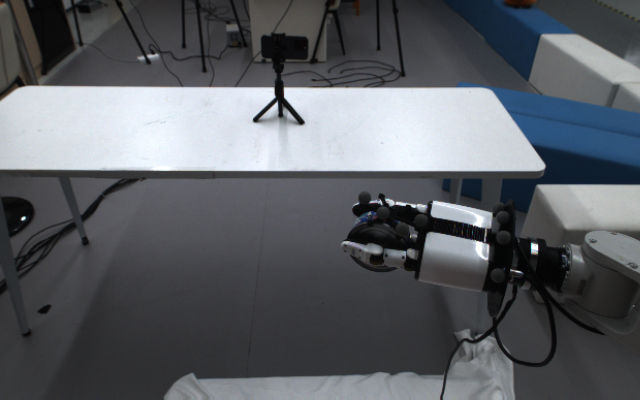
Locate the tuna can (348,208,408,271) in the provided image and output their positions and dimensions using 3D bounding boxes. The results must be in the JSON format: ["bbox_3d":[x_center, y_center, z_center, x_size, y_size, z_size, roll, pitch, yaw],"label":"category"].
[{"bbox_3d":[0.084,0.056,0.677,0.085,0.085,0.034,12,33,14],"label":"tuna can"}]
